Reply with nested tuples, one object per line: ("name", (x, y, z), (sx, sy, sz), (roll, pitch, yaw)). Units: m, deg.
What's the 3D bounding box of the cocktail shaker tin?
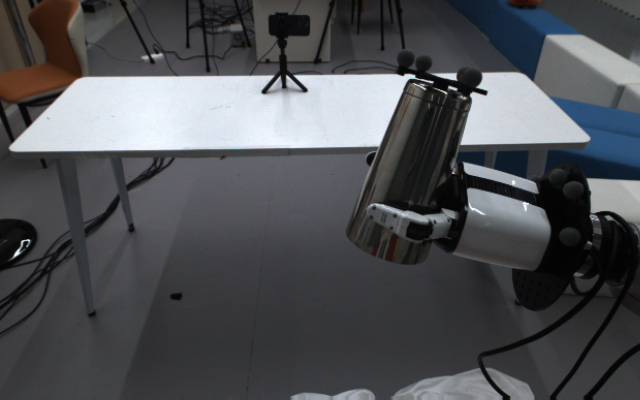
("cocktail shaker tin", (0.095, -0.031, 0.499), (0.093, 0.170, 0.093), (14, 20, -5))
